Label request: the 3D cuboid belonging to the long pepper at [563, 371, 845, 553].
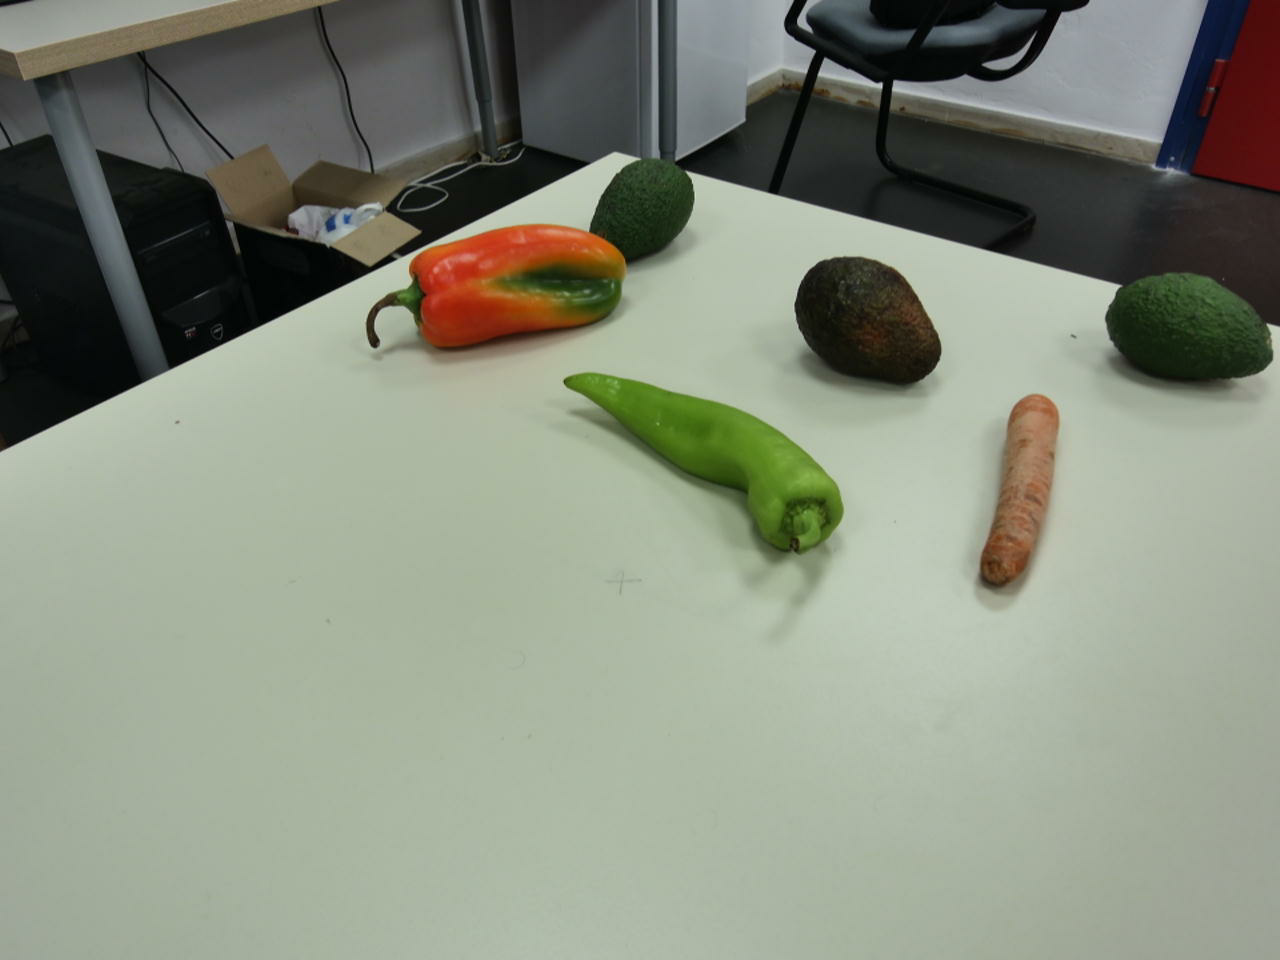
[{"bbox_3d":[0.038,-0.020,0.553,0.065,0.045,0.204,-23,43,-28],"label":"long pepper"}]
